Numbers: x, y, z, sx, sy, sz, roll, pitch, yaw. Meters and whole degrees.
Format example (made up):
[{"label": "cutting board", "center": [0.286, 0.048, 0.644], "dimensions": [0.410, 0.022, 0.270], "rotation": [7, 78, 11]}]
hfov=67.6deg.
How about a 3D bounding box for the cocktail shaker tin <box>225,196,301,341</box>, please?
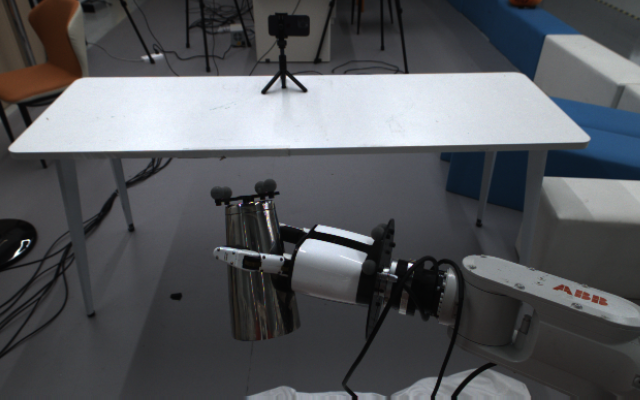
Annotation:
[{"label": "cocktail shaker tin", "center": [-0.082, 0.089, 0.641], "dimensions": [0.093, 0.170, 0.093], "rotation": [-8, 1, 0]}]
